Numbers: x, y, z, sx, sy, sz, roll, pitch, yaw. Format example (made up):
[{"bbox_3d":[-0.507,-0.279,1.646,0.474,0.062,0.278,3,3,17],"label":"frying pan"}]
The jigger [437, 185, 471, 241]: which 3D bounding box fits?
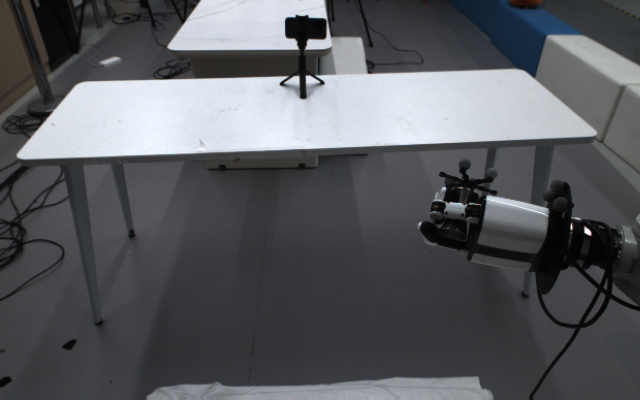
[{"bbox_3d":[0.203,0.017,0.706,0.043,0.043,0.071,16,70,19],"label":"jigger"}]
